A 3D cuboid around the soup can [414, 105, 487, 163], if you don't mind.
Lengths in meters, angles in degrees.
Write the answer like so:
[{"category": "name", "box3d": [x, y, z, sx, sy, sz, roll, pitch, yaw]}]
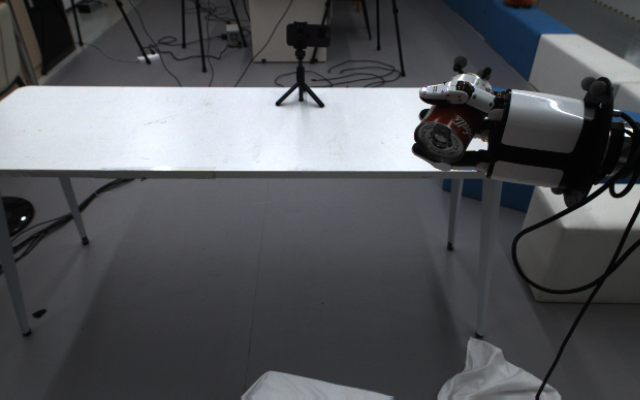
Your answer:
[{"category": "soup can", "box3d": [0.176, -0.108, 0.622, 0.067, 0.067, 0.101, 22, 60, 26]}]
